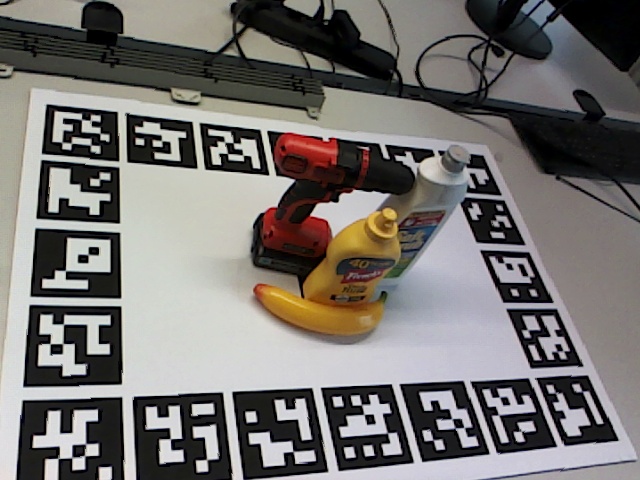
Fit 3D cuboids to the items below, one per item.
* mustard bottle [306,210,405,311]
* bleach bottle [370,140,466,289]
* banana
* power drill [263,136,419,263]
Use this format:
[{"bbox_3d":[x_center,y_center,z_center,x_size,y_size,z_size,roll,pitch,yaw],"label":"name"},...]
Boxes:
[{"bbox_3d":[0.056,0.025,0.803,0.096,0.191,0.058,4,53,-23],"label":"mustard bottle"},{"bbox_3d":[0.118,-0.032,0.844,0.102,0.251,0.068,5,47,-21],"label":"bleach bottle"},{"bbox_3d":[0.013,0.098,0.843,0.196,0.039,0.074,6,53,-17],"label":"banana"},{"bbox_3d":[0.012,-0.046,0.813,0.184,0.187,0.057,14,49,-16],"label":"power drill"}]
